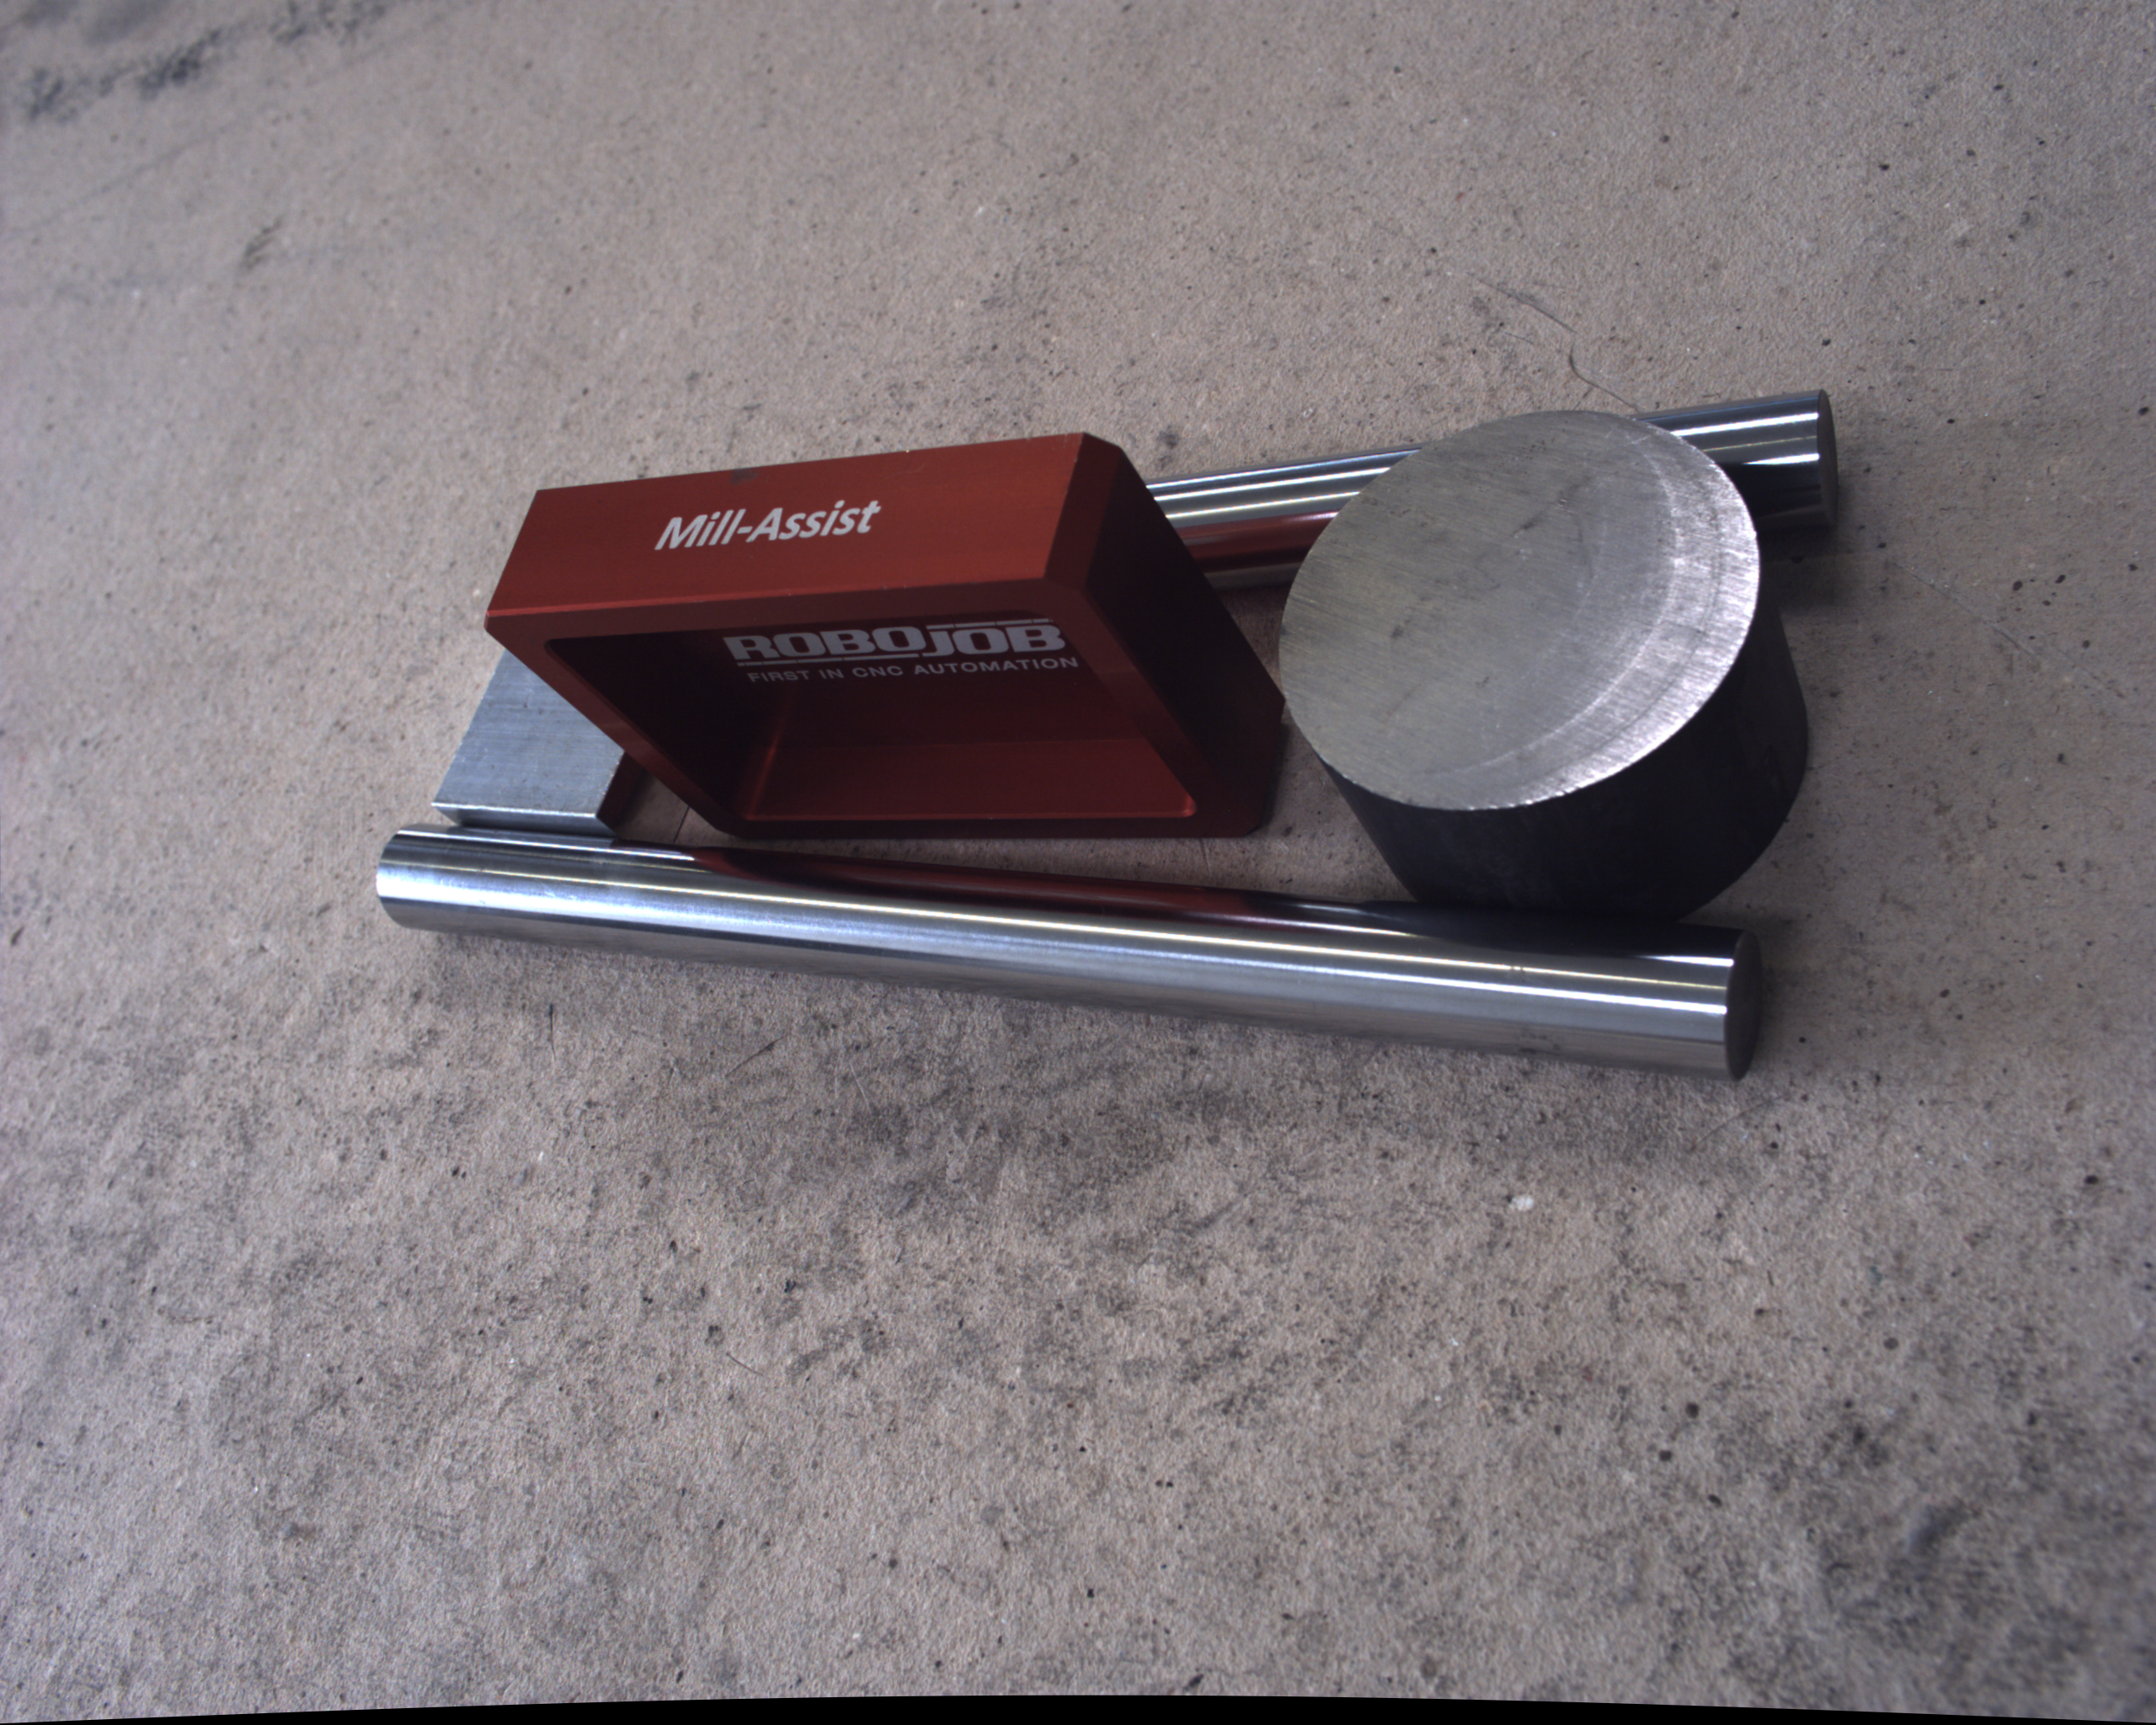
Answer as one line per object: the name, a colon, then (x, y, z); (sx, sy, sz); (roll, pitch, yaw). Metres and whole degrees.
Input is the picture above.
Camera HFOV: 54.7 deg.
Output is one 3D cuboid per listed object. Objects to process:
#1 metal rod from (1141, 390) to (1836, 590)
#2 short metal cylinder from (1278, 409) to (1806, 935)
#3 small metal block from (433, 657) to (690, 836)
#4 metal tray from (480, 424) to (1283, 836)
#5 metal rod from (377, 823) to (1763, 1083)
metal rod: (0.002, -0.068, 0.446); (0.300, 0.025, 0.025); (-2, 61, 27)
short metal cylinder: (0.082, -0.032, 0.365); (0.080, 0.050, 0.080); (-13, 56, 21)
small metal block: (-0.113, -0.027, 0.482); (0.050, 0.025, 0.050); (5, 64, 30)
metal tray: (-0.037, -0.040, 0.406); (0.130, 0.090, 0.030); (0, 62, 28)
metal rod: (-0.023, 0.013, 0.410); (0.300, 0.025, 0.025); (4, 64, 30)
